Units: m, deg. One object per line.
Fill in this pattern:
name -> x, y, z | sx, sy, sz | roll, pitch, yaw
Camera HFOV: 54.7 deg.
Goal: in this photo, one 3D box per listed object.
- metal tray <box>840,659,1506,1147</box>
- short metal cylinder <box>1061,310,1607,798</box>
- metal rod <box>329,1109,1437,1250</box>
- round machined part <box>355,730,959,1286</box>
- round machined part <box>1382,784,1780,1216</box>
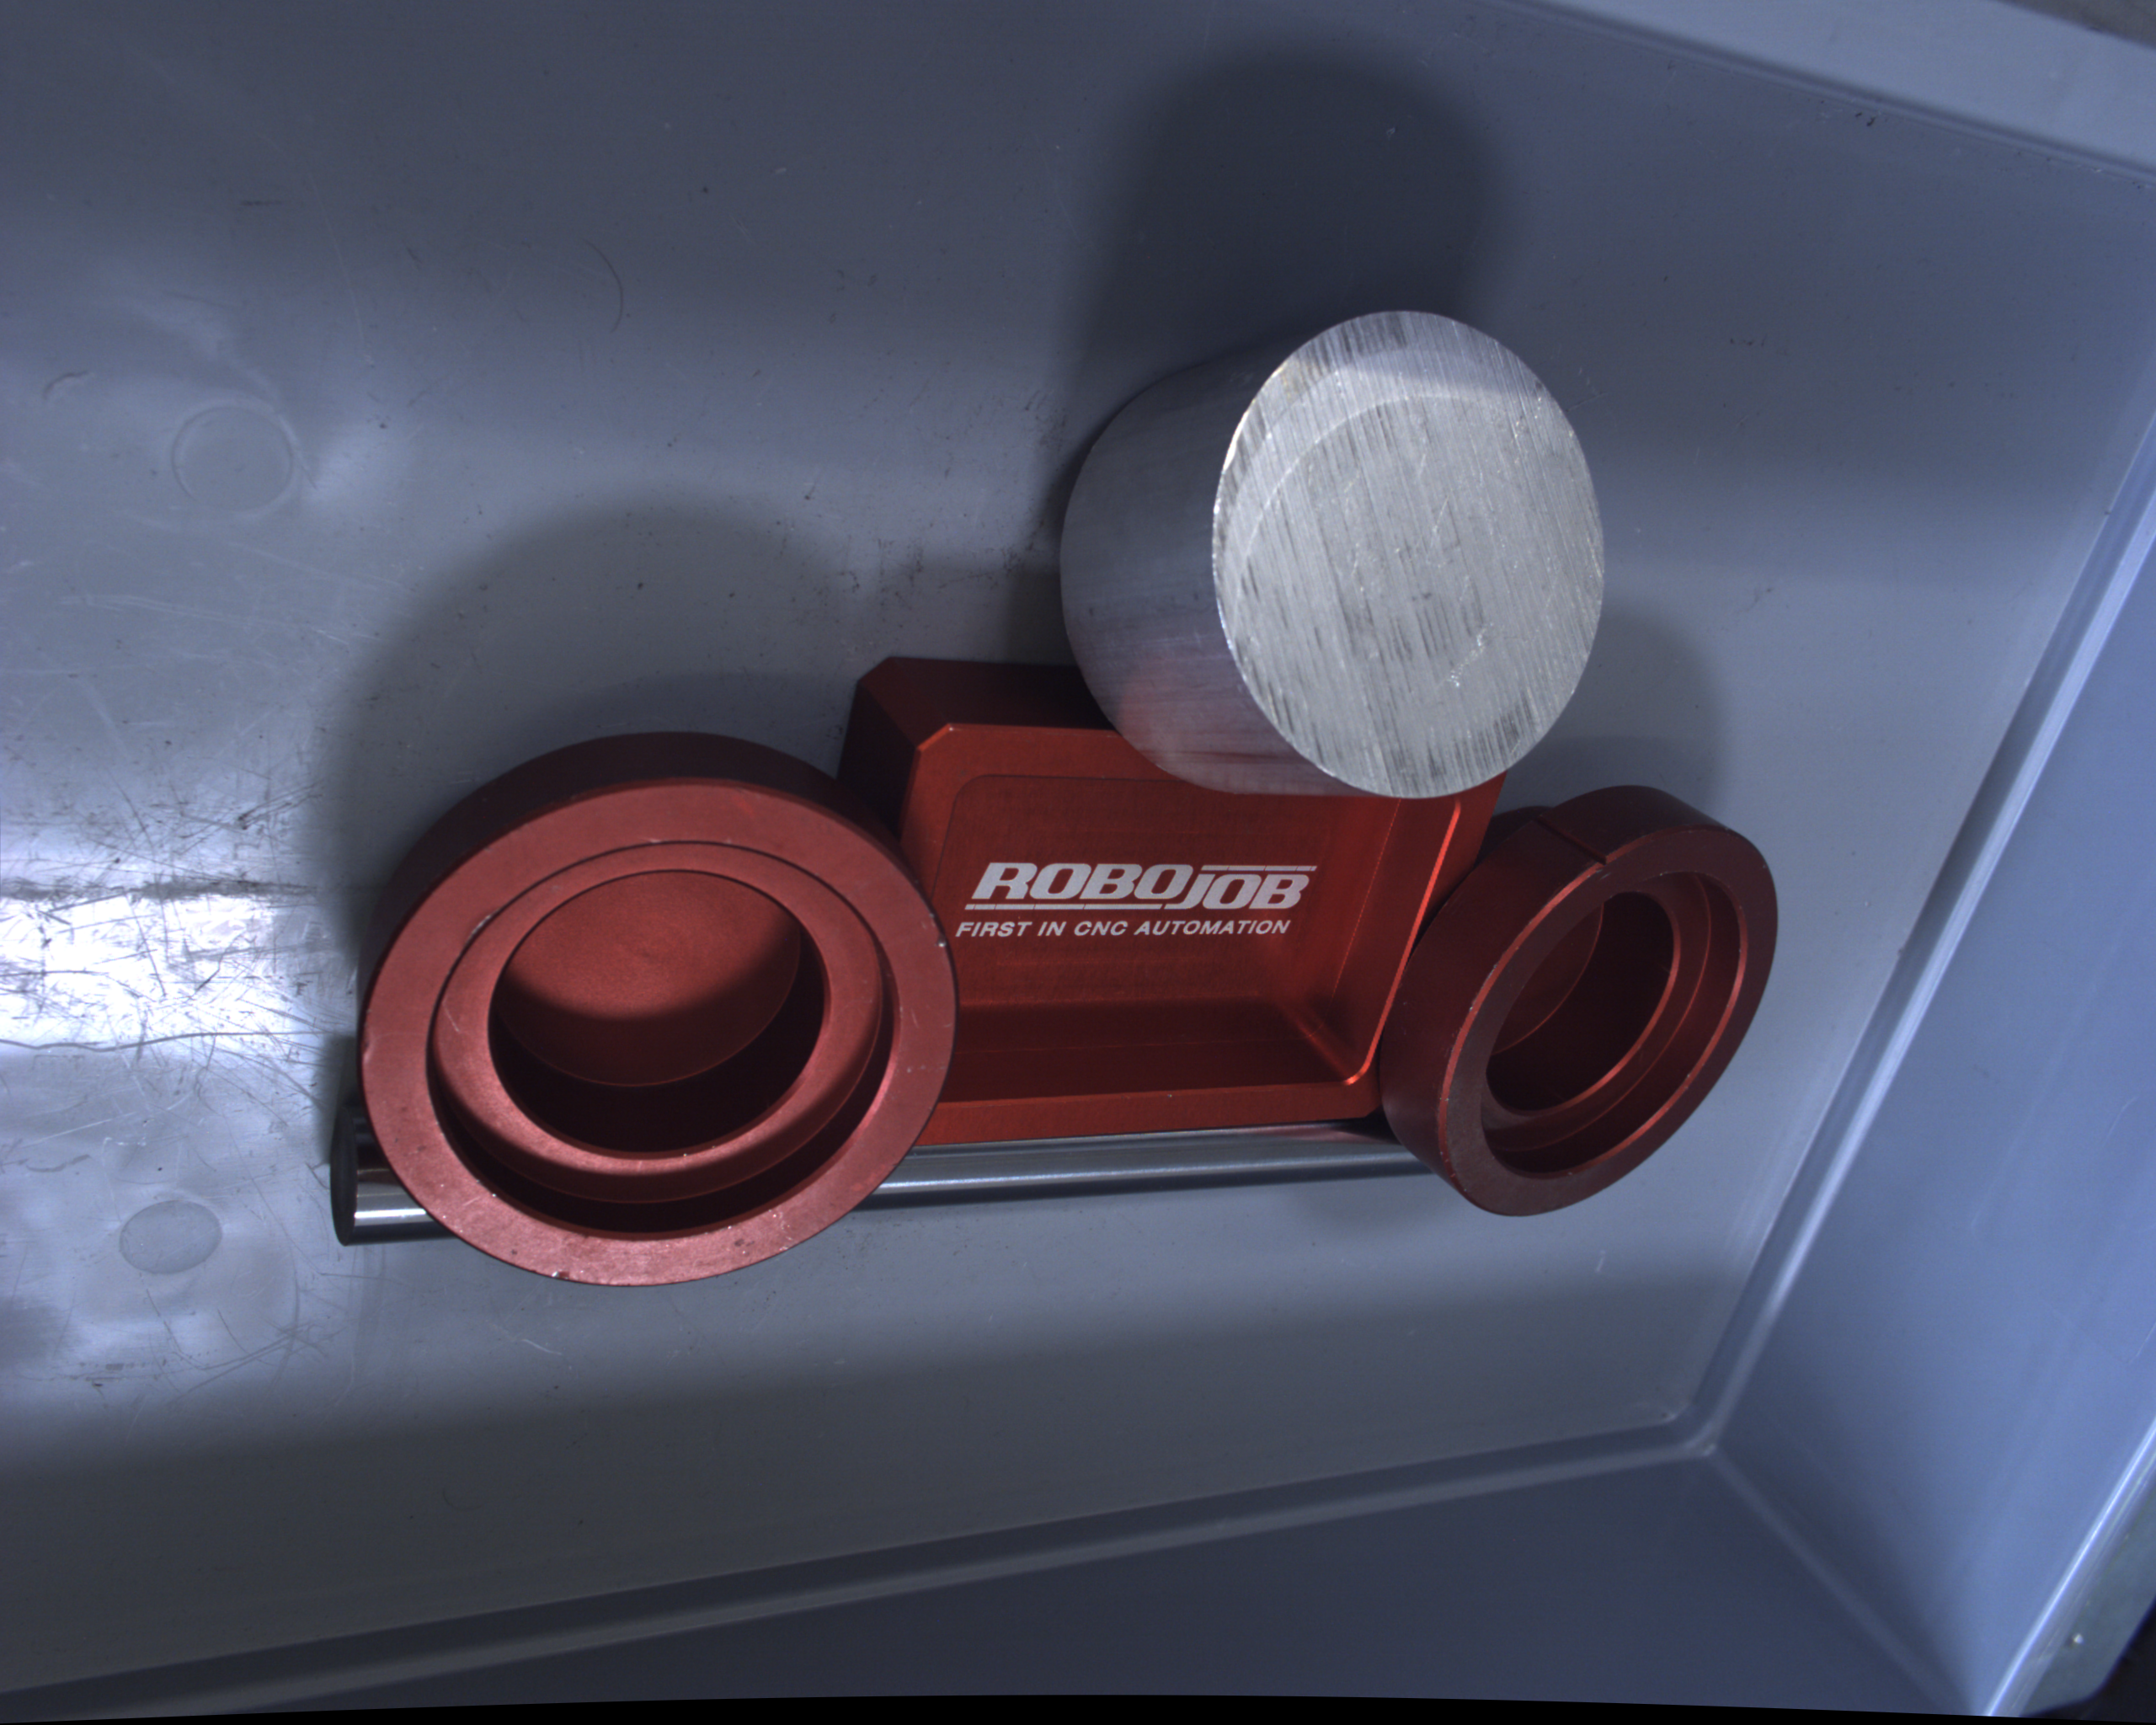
metal tray -> 0.014, 0.009, 0.416 | 0.131, 0.030, 0.089 | 0, 119, -29
short metal cylinder -> 0.044, -0.051, 0.364 | 0.081, 0.050, 0.079 | -1, 93, -29
metal rod -> 0.001, 0.059, 0.444 | 0.303, 0.025, 0.025 | 1, 118, -29
round machined part -> -0.074, 0.022, 0.362 | 0.099, 0.042, 0.097 | -8, 118, -16
round machined part -> 0.105, 0.026, 0.463 | 0.099, 0.042, 0.097 | -19, 127, -27
